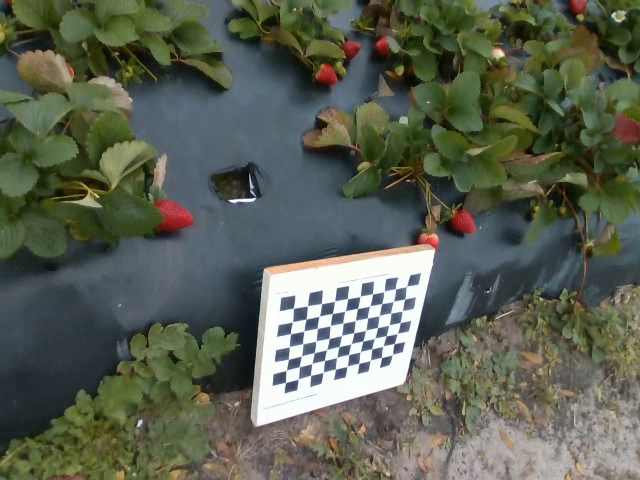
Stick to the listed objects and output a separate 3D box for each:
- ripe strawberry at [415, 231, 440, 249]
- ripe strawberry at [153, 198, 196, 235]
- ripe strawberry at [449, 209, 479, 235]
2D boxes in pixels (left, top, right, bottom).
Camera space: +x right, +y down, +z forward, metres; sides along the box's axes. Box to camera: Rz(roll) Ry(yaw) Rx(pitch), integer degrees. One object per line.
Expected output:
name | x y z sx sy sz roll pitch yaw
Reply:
ripe strawberry | 0.181 0.005 0.932 0.036 0.041 0.027 -3 9 -18
ripe strawberry | -0.199 -0.029 0.763 0.064 0.046 0.049 15 28 -1
ripe strawberry | 0.245 -0.032 0.965 0.044 0.059 0.042 -42 16 9
